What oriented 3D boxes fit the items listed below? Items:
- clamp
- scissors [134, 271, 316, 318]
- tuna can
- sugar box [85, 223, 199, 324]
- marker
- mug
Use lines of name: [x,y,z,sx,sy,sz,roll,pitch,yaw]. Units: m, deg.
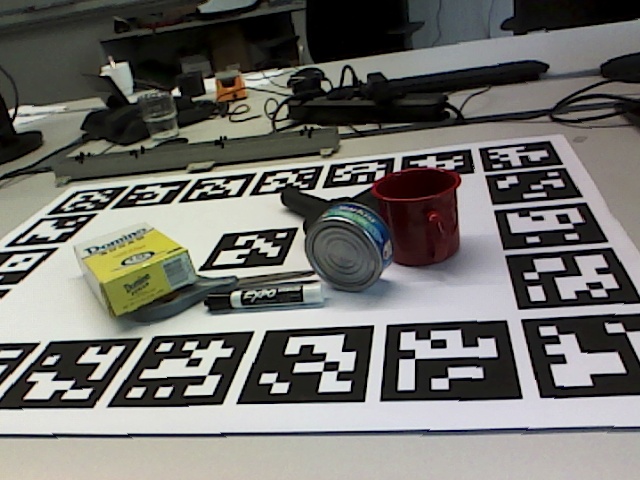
clamp: [0.032,-0.021,0.762,0.165,0.036,0.203,-8,28,3]
scissors: [-0.104,0.048,0.667,0.203,0.016,0.088,-7,23,2]
tuna can: [0.033,0.015,0.614,0.086,0.085,0.033,5,30,28]
sugar box: [-0.208,0.030,0.704,0.092,0.045,0.177,-21,22,-20]
marker: [-0.066,0.067,0.622,0.121,0.019,0.019,-6,28,10]
mug: [0.101,-0.010,0.649,0.093,0.081,0.118,-16,24,-12]
